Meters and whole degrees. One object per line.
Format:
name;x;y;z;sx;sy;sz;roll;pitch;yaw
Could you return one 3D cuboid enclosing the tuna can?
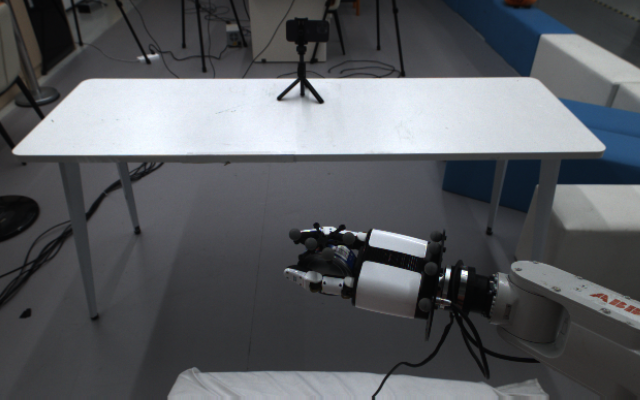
tuna can;0.013;0.097;0.707;0.085;0.085;0.034;11;39;13
